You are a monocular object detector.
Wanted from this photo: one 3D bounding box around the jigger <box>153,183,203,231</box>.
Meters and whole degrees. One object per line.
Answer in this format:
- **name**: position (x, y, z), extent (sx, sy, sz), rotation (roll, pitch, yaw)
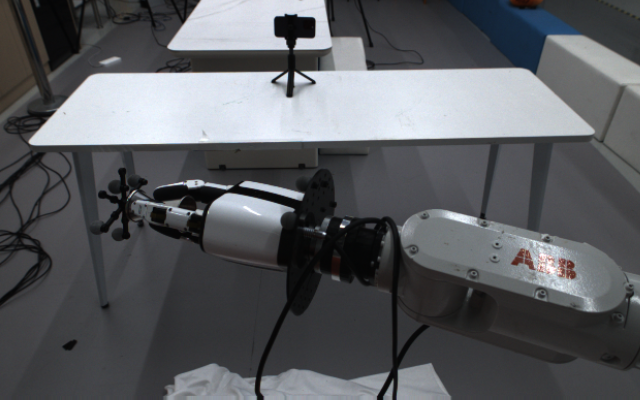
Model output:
- **jigger**: position (-0.179, 0.008, 0.564), extent (0.071, 0.043, 0.043), rotation (8, 35, 15)
